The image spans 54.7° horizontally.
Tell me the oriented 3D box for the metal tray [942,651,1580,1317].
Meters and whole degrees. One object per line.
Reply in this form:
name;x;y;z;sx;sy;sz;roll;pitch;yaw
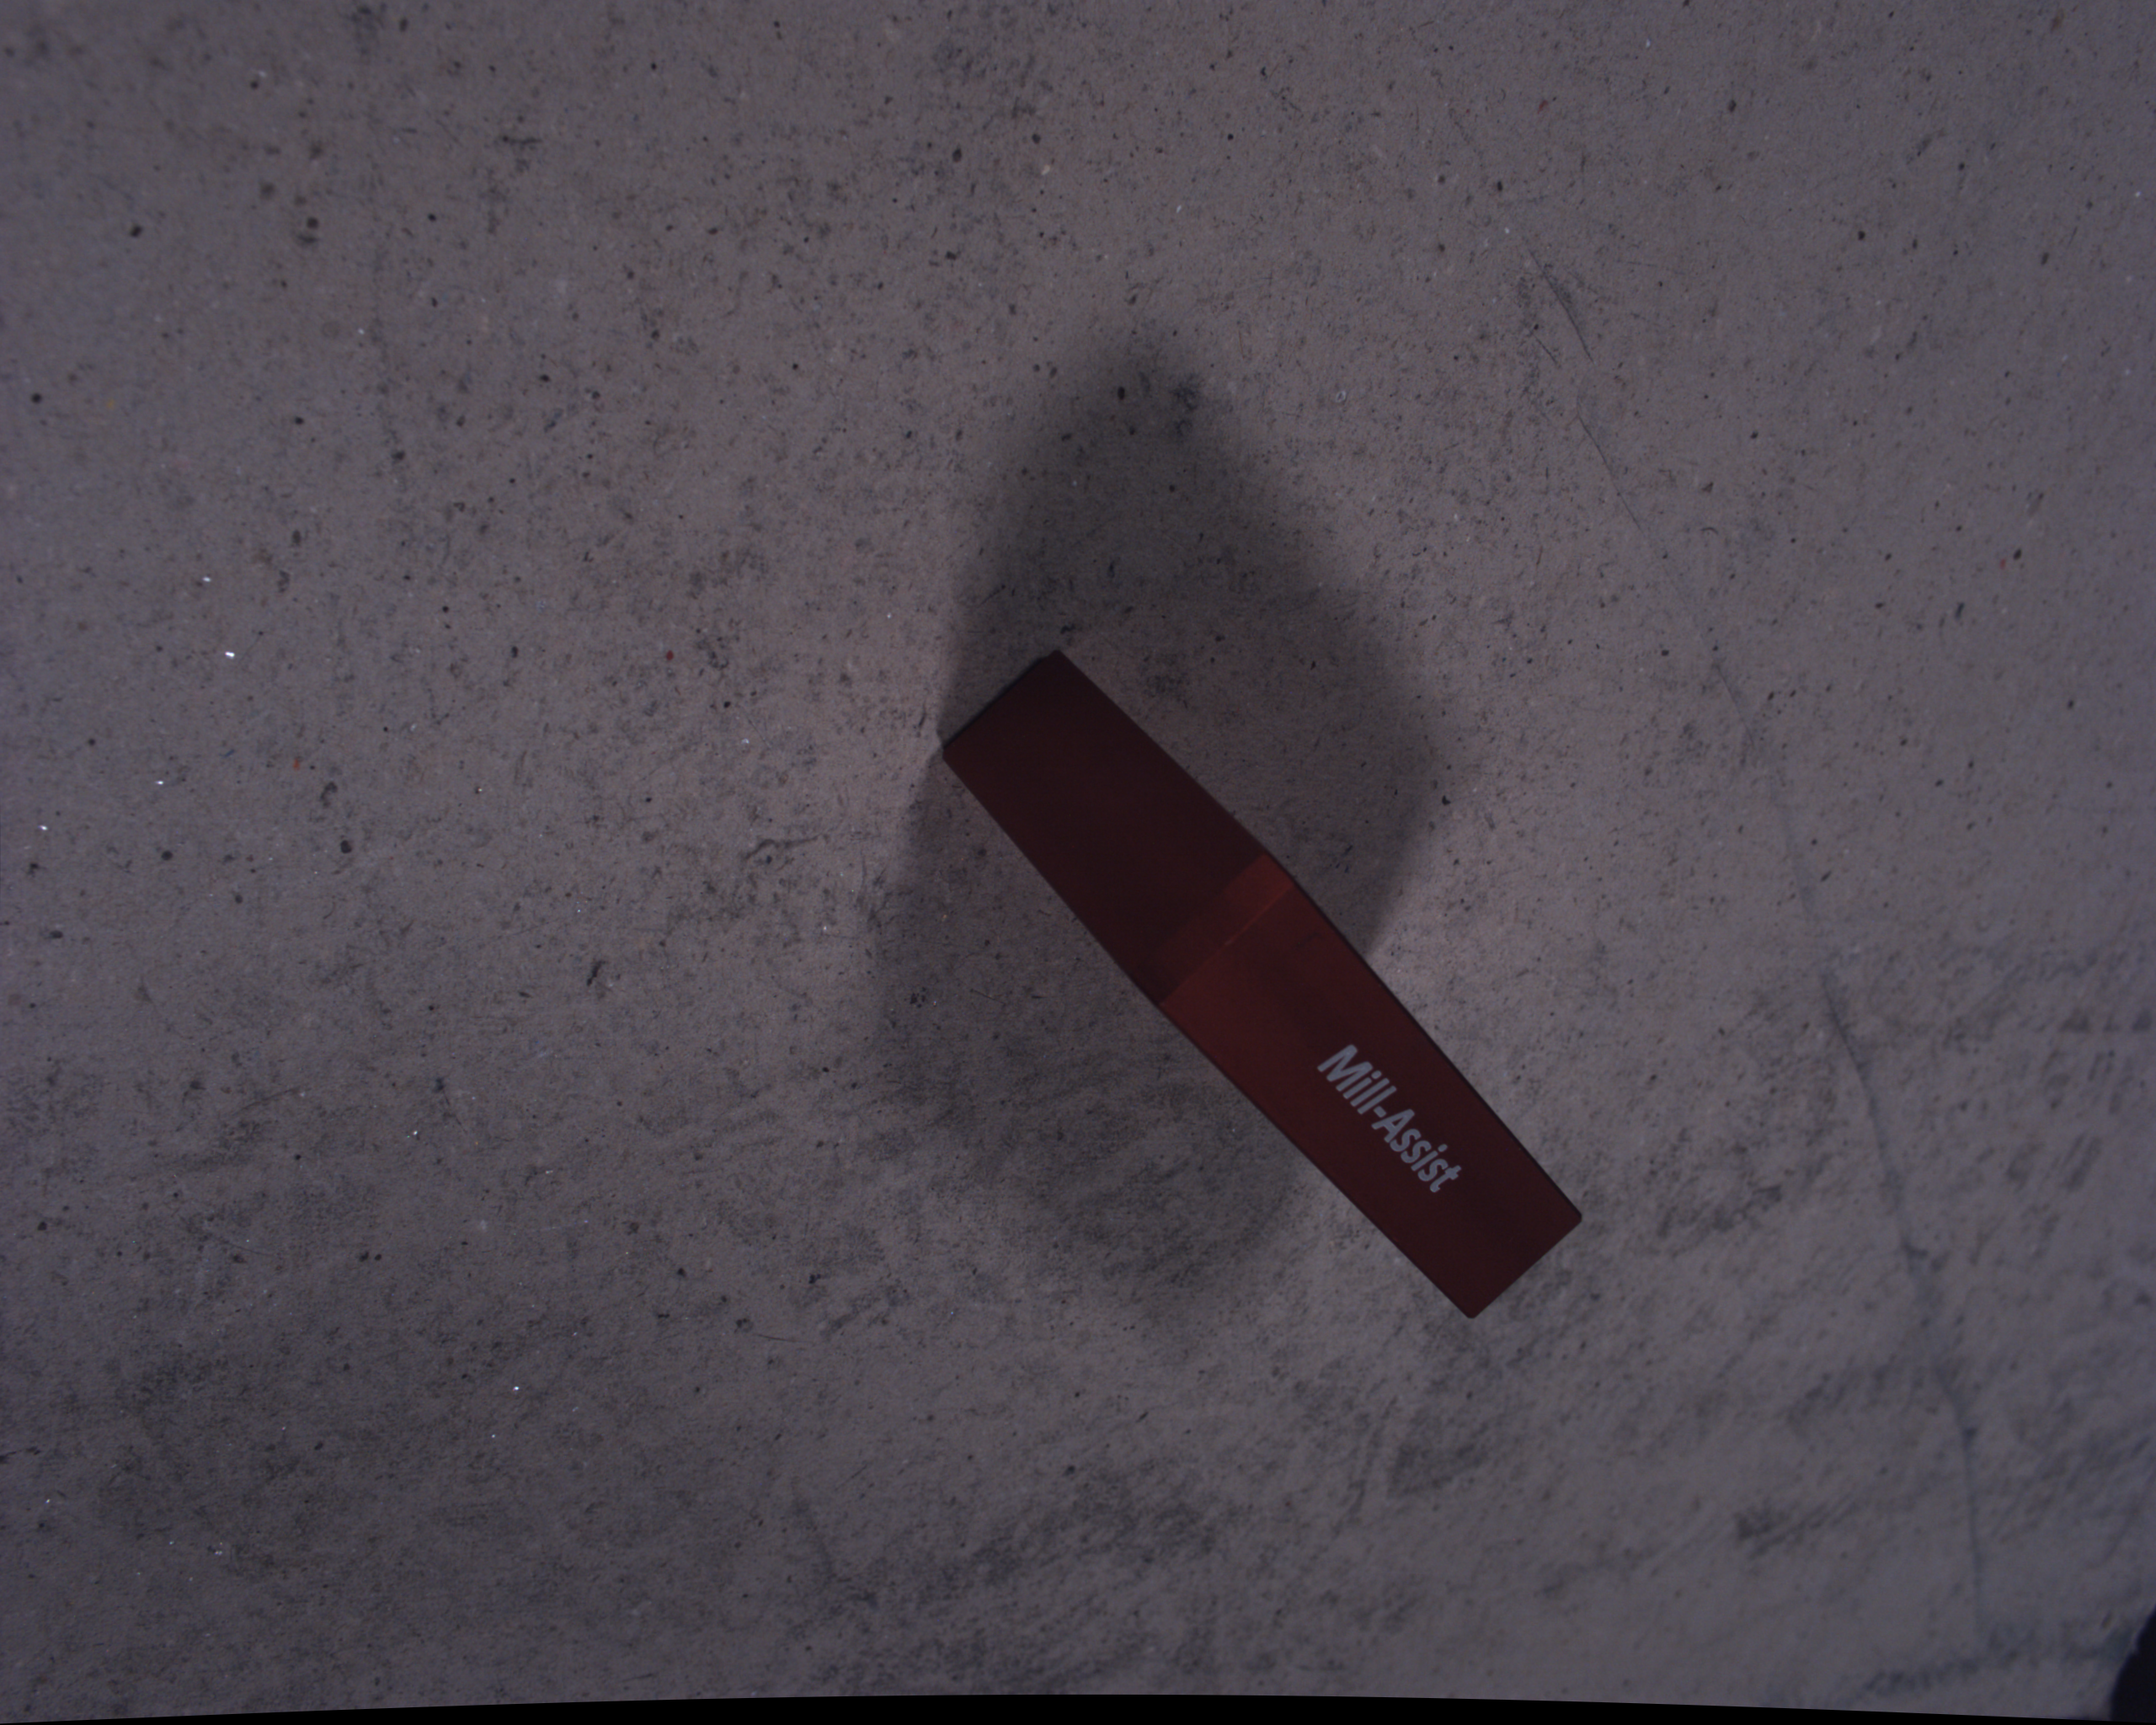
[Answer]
metal tray;0.036;0.025;0.403;0.030;0.090;0.130;-43;130;1
